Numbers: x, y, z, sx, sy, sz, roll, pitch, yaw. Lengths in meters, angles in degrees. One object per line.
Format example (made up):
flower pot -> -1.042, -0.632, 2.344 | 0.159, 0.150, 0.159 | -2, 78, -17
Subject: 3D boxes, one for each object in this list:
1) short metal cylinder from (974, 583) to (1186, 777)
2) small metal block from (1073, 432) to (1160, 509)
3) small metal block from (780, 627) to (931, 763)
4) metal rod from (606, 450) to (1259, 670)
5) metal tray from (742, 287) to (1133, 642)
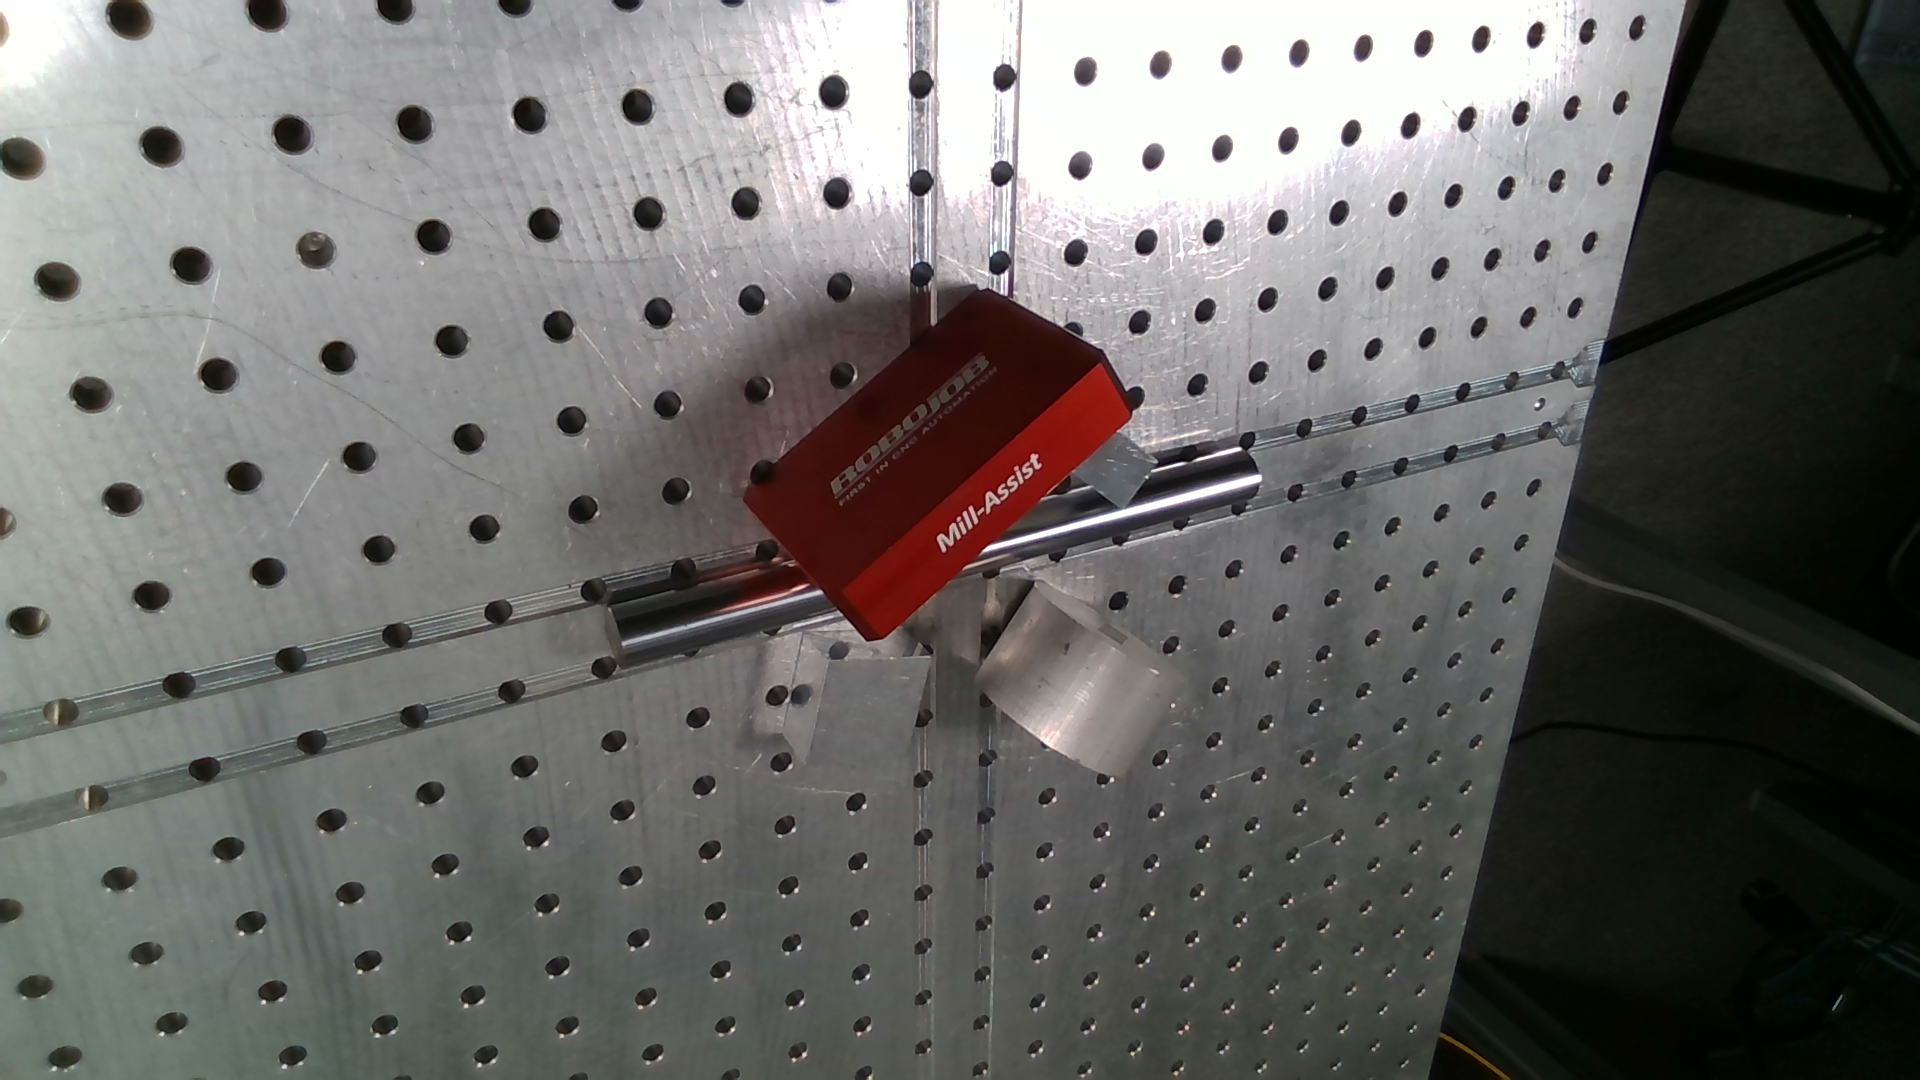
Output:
short metal cylinder -> 0.053, 0.061, 0.614 | 0.080, 0.080, 0.050 | 27, 99, -38
small metal block -> 0.047, -0.043, 0.572 | 0.050, 0.050, 0.025 | 32, 96, -39
small metal block -> -0.045, 0.066, 0.592 | 0.050, 0.025, 0.050 | 1, 114, -32
metal rod -> 0.001, 0.003, 0.585 | 0.300, 0.025, 0.025 | -15, 122, -25
metal tray -> -0.011, -0.032, 0.517 | 0.130, 0.090, 0.030 | -42, 129, -6
